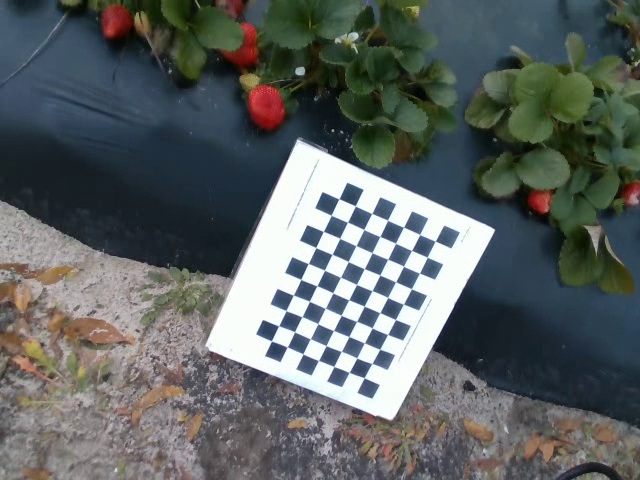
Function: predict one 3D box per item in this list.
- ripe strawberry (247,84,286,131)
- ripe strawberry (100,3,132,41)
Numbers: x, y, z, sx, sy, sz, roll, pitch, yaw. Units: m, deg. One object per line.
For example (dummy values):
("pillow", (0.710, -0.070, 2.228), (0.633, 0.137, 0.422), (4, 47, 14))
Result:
("ripe strawberry", (-0.074, -0.164, 0.723), (0.057, 0.056, 0.065), (-11, 15, 17))
("ripe strawberry", (-0.248, -0.259, 0.703), (0.044, 0.052, 0.041), (6, -33, 0))
